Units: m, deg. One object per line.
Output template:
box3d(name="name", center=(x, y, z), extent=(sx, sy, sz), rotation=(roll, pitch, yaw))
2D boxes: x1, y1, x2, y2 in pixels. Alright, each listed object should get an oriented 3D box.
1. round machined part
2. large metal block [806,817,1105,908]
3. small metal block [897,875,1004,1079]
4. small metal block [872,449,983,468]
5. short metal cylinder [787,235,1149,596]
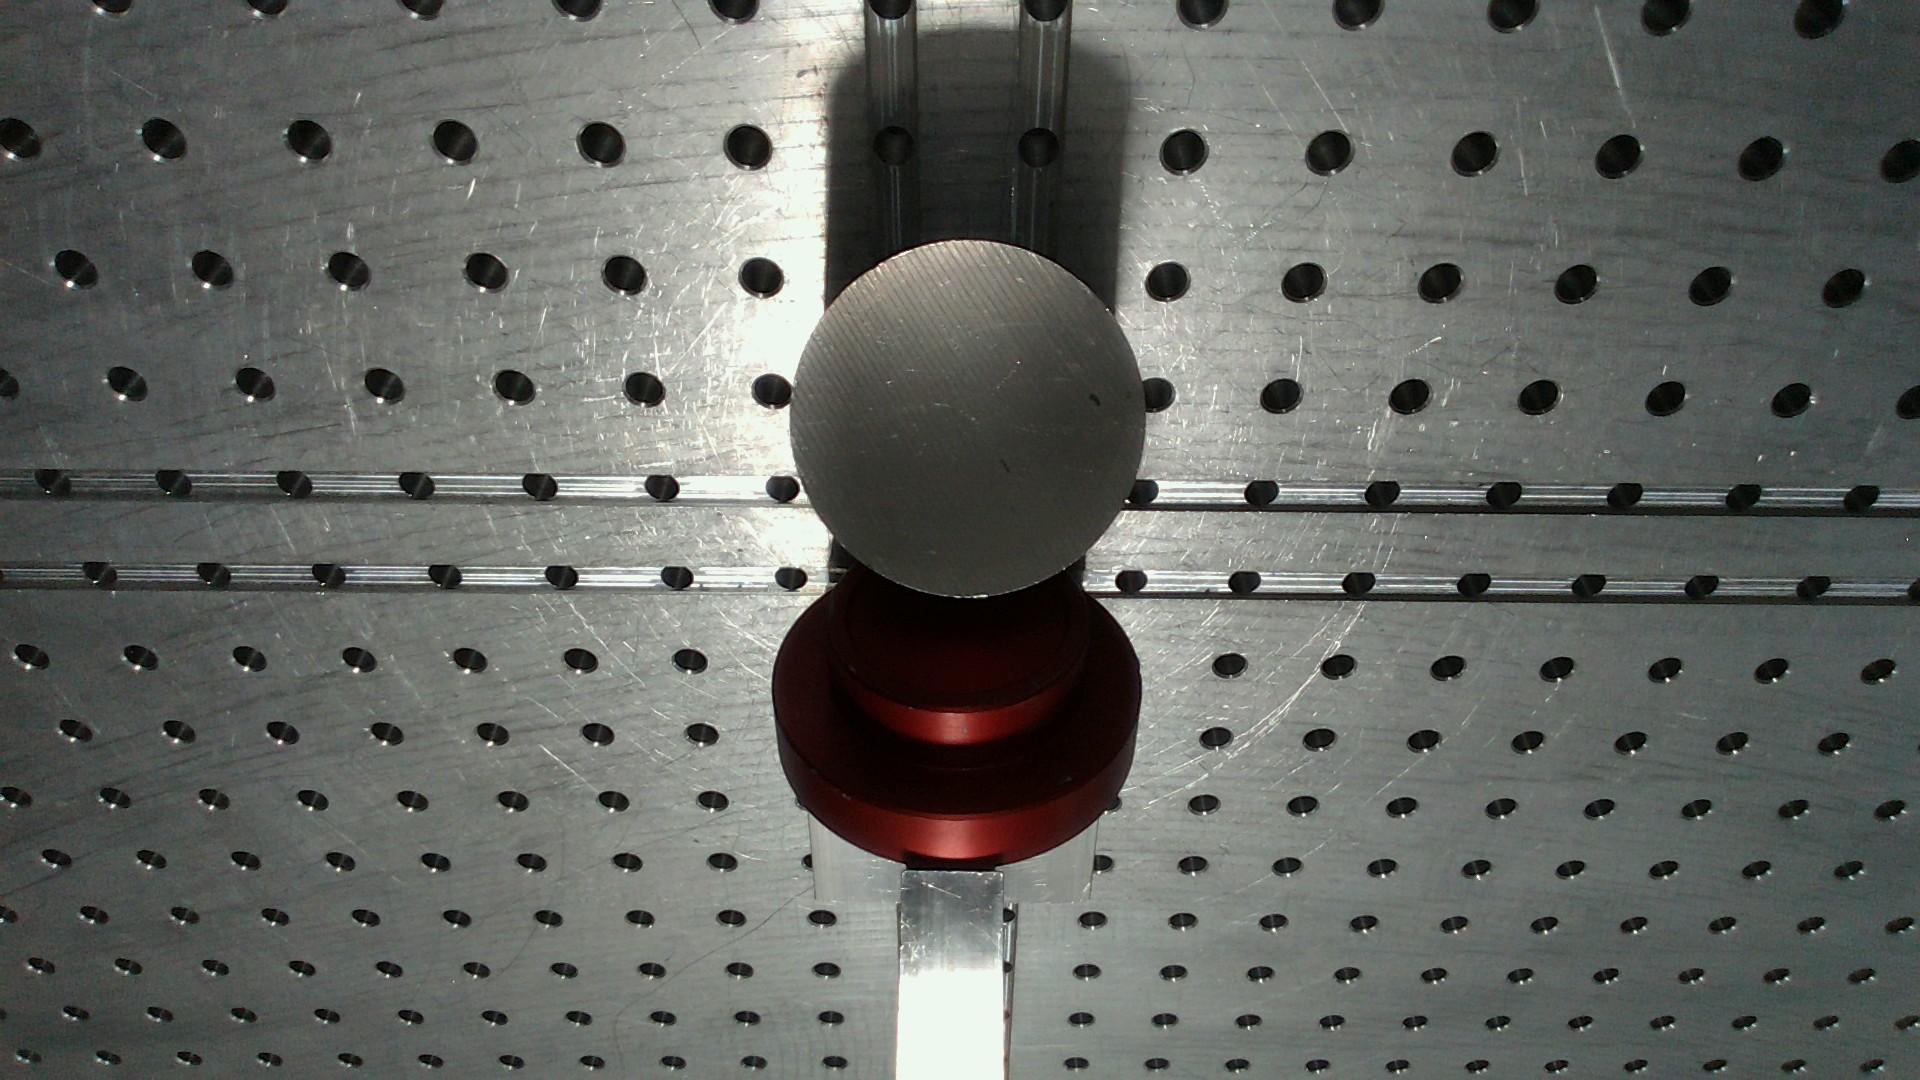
box3d(name="round machined part", center=(0.000, 0.035, 0.362), extent=(0.098, 0.098, 0.042), rotation=(1, 130, -1))
box3d(name="large metal block", center=(-0.001, 0.060, 0.407), extent=(0.080, 0.080, 0.050), rotation=(1, 130, -1))
box3d(name="small metal block", center=(-0.003, 0.111, 0.352), extent=(0.025, 0.050, 0.050), rotation=(0, 168, -1))
box3d(name="small metal block", center=(-0.001, -0.014, 0.381), extent=(0.050, 0.025, 0.050), rotation=(0, 130, -1))
box3d(name="short metal cylinder", center=(0.002, -0.031, 0.329), extent=(0.080, 0.050, 0.080), rotation=(0, 100, -1))
